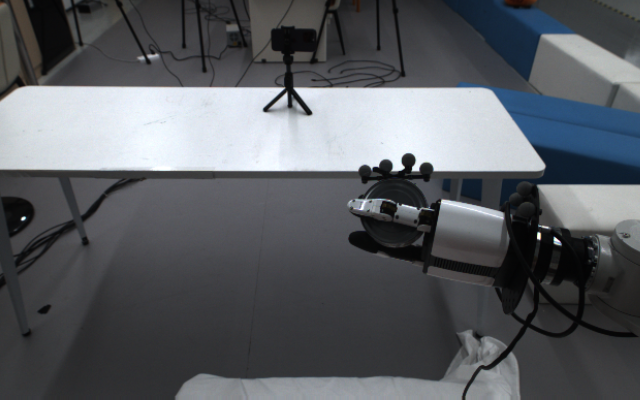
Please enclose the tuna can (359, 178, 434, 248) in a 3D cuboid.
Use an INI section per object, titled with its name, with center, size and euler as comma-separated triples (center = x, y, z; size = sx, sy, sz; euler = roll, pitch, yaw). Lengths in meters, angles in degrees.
[tuna can]
center = 0.096, 0.016, 0.617
size = 0.085, 0.034, 0.085
euler = -5, 71, 15
